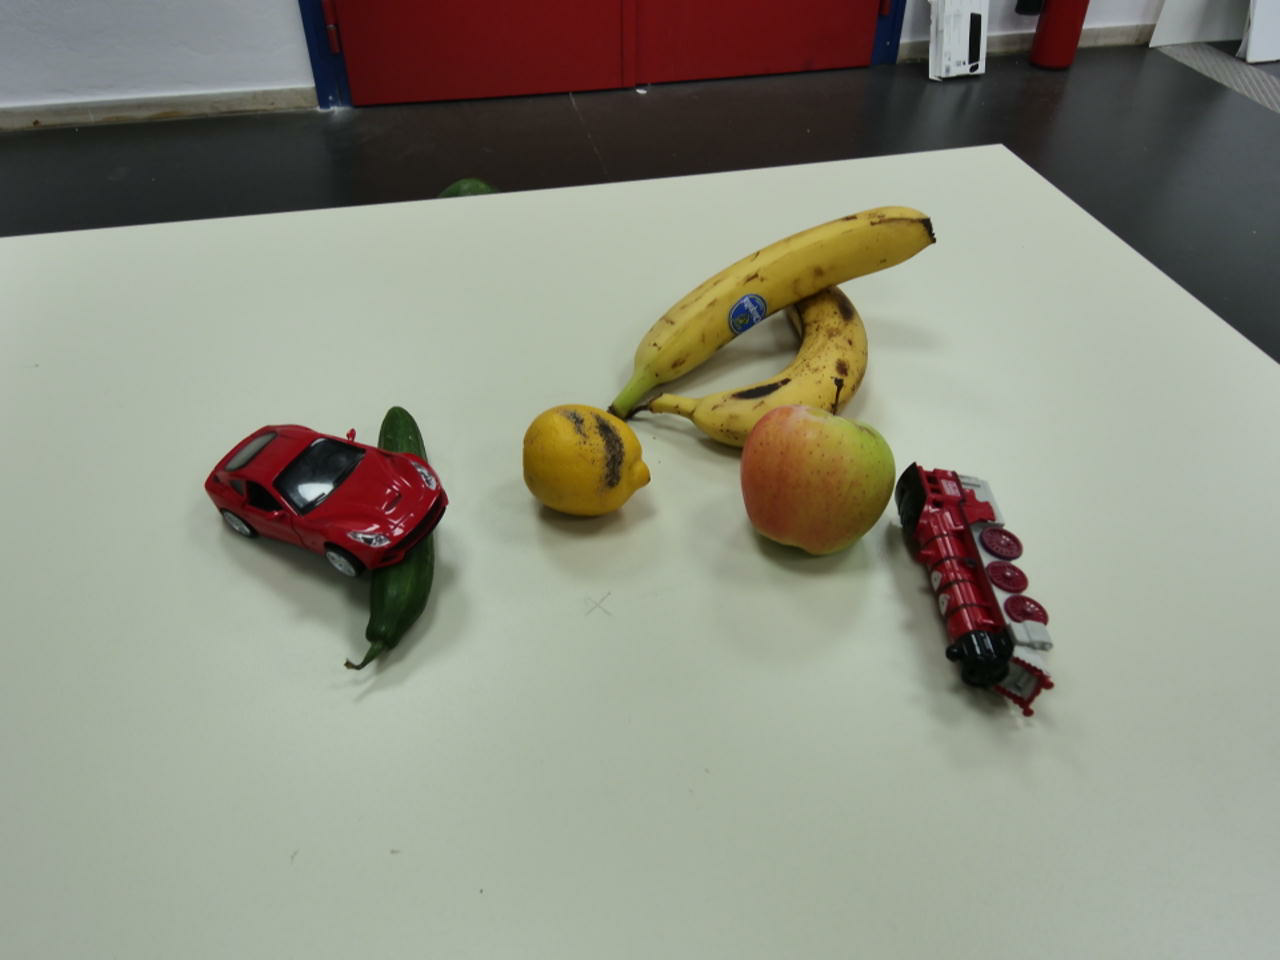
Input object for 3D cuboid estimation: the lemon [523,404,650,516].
[{"bbox_3d":[-0.030,-0.010,0.510,0.061,0.056,0.058,-14,41,-16],"label":"lemon"}]
